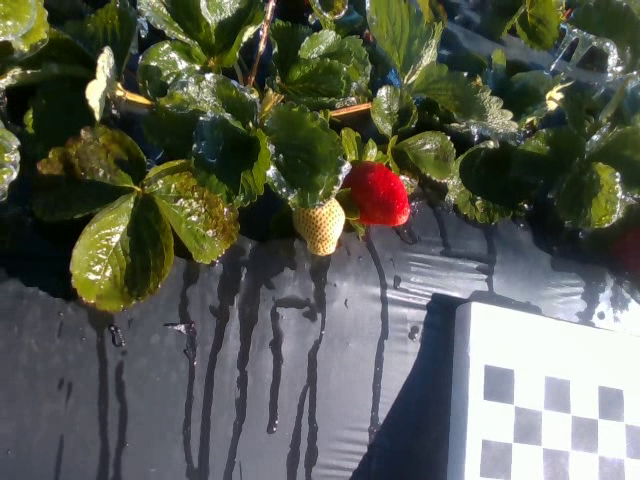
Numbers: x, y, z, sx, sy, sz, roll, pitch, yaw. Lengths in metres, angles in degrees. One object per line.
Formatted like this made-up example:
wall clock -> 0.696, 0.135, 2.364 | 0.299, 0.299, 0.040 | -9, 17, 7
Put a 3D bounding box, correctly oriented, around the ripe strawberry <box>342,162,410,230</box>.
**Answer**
ripe strawberry -> 0.041, -0.022, 0.395 | 0.042, 0.046, 0.061 | -2, 34, -20
